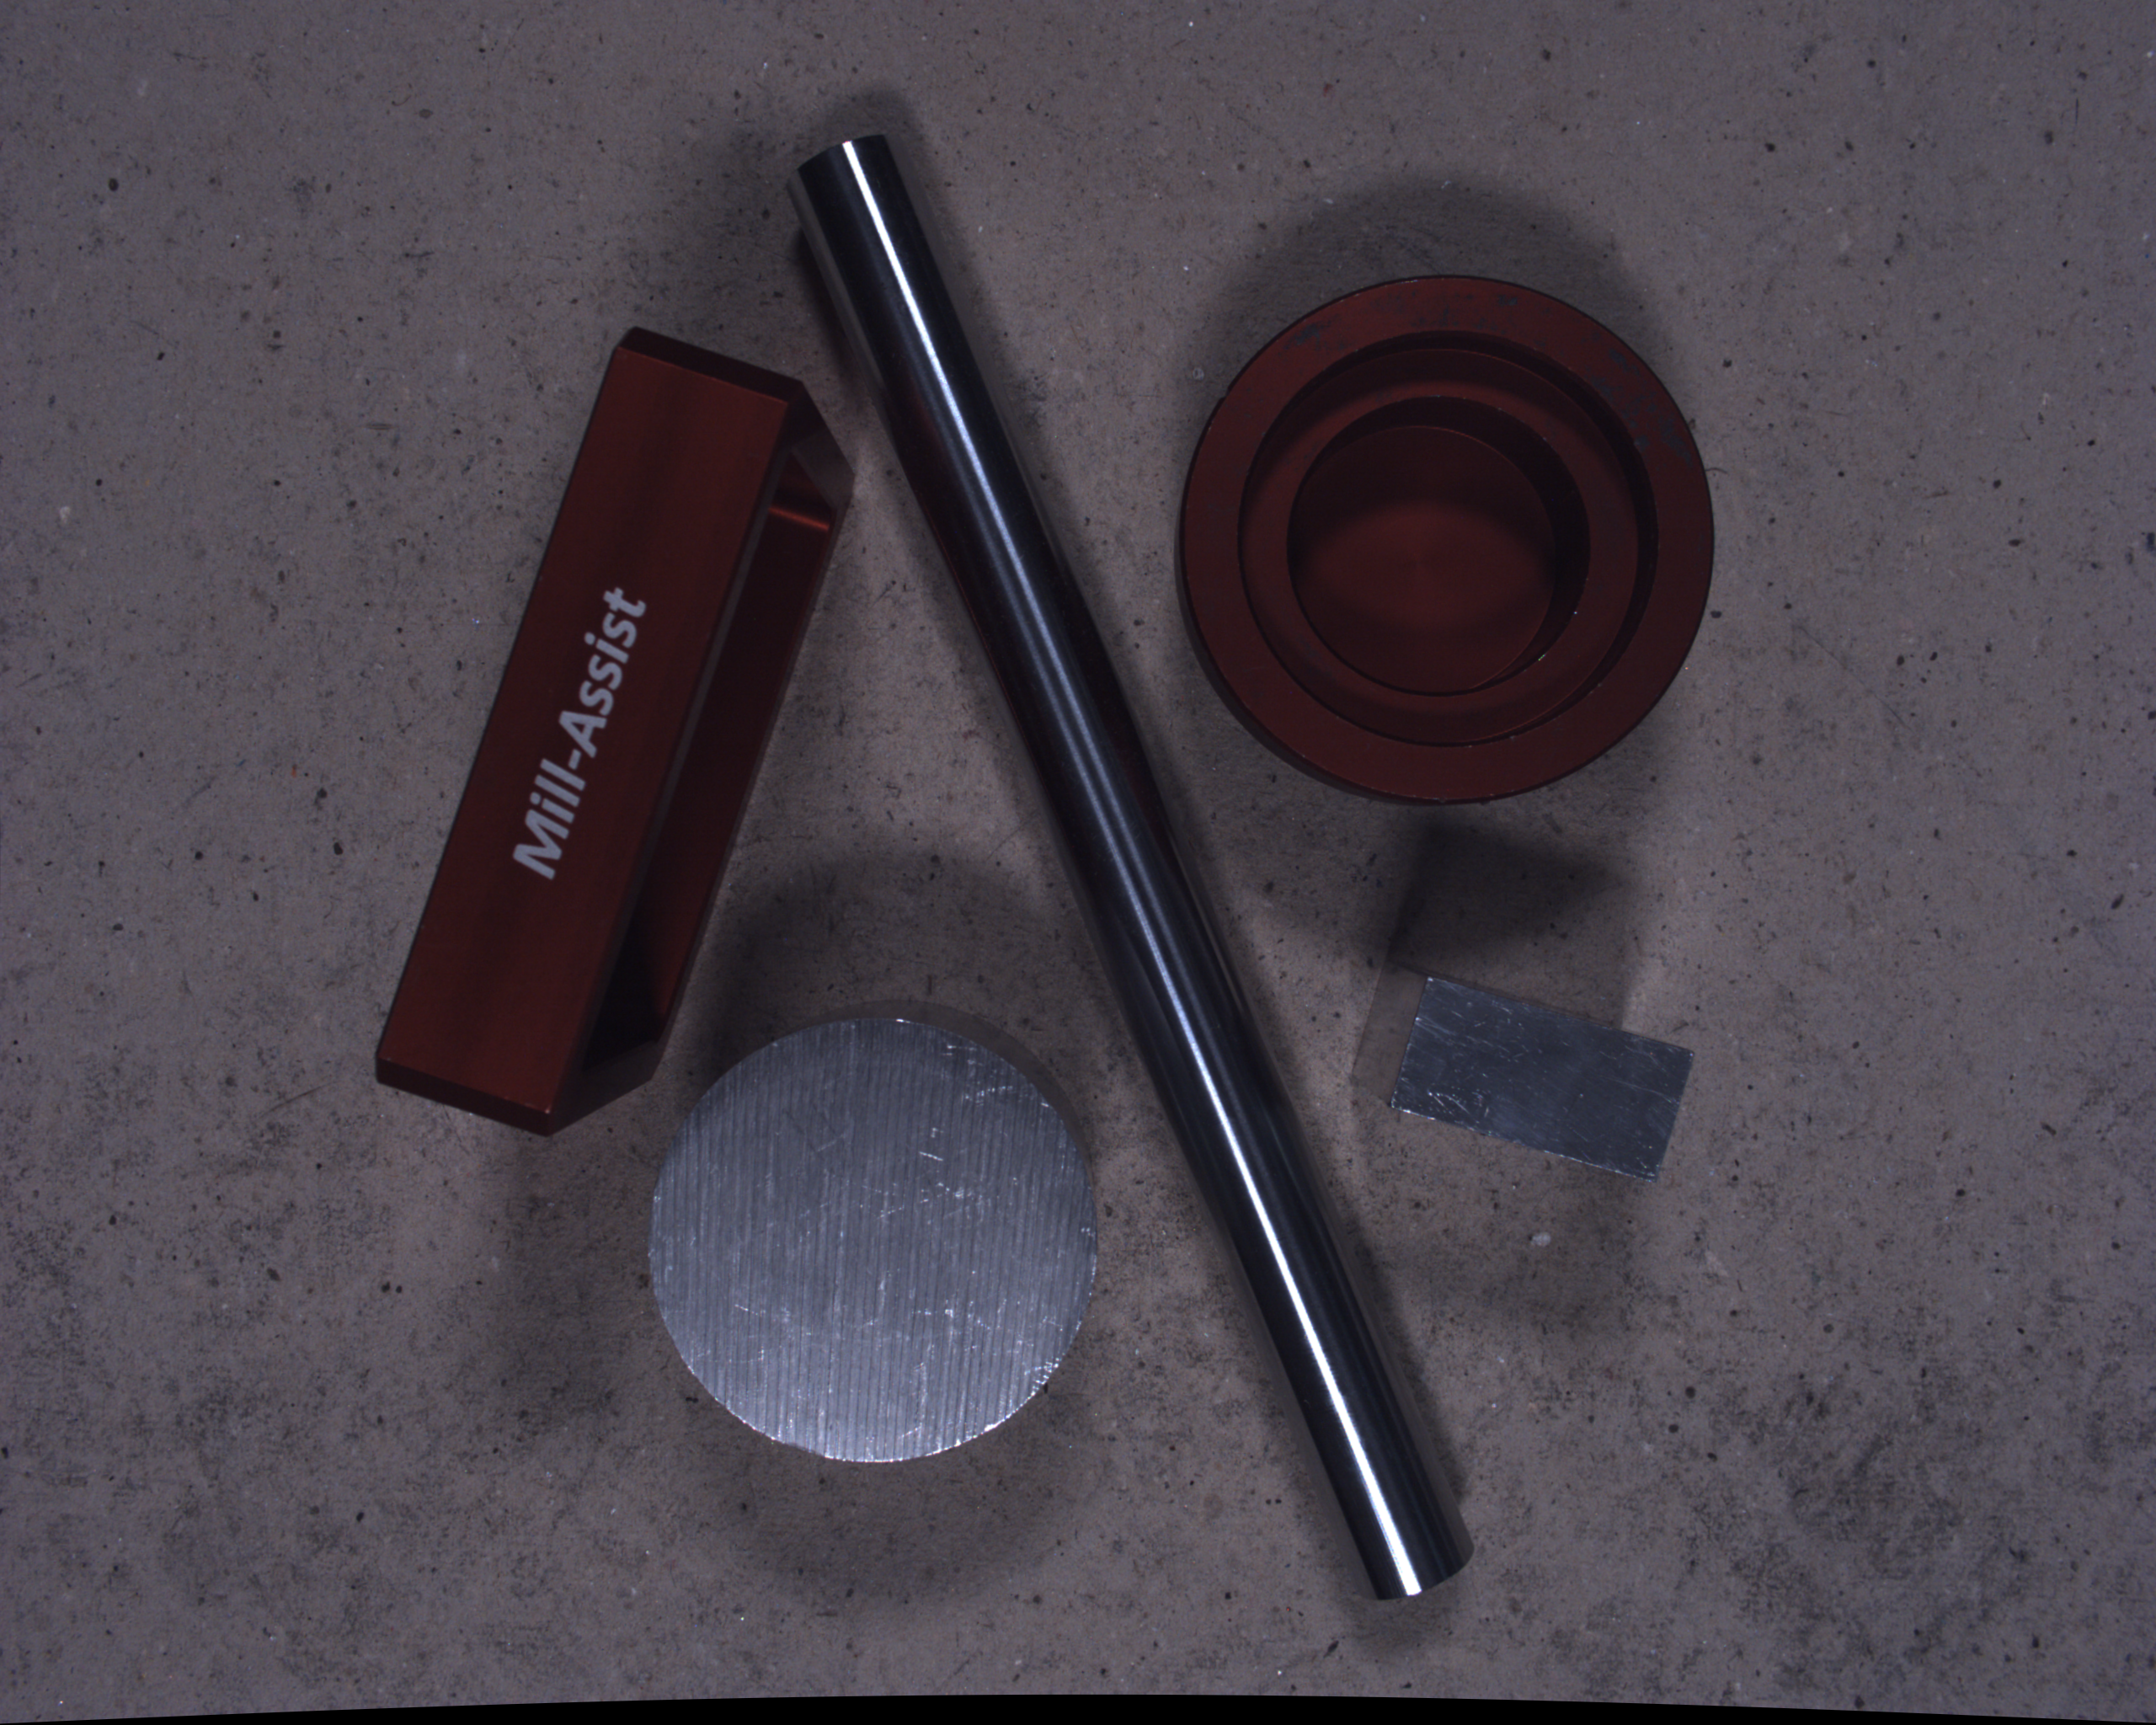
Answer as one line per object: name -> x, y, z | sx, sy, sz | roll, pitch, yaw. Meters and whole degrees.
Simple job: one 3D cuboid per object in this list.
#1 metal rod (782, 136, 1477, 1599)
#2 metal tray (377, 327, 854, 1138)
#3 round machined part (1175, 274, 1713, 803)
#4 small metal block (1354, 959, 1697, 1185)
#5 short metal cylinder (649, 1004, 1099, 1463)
metal rod -> 0.010, 0.001, 0.412 | 0.025, 0.025, 0.299 | -22, 90, 0
metal tray -> -0.079, -0.021, 0.378 | 0.030, 0.090, 0.129 | 19, 90, 0
round machined part -> 0.068, -0.060, 0.403 | 0.099, 0.042, 0.097 | 0, 90, -1
small metal block -> 0.083, 0.038, 0.397 | 0.050, 0.050, 0.025 | 17, 90, -1
short metal cylinder -> -0.037, 0.068, 0.398 | 0.081, 0.050, 0.079 | 0, 90, -1
